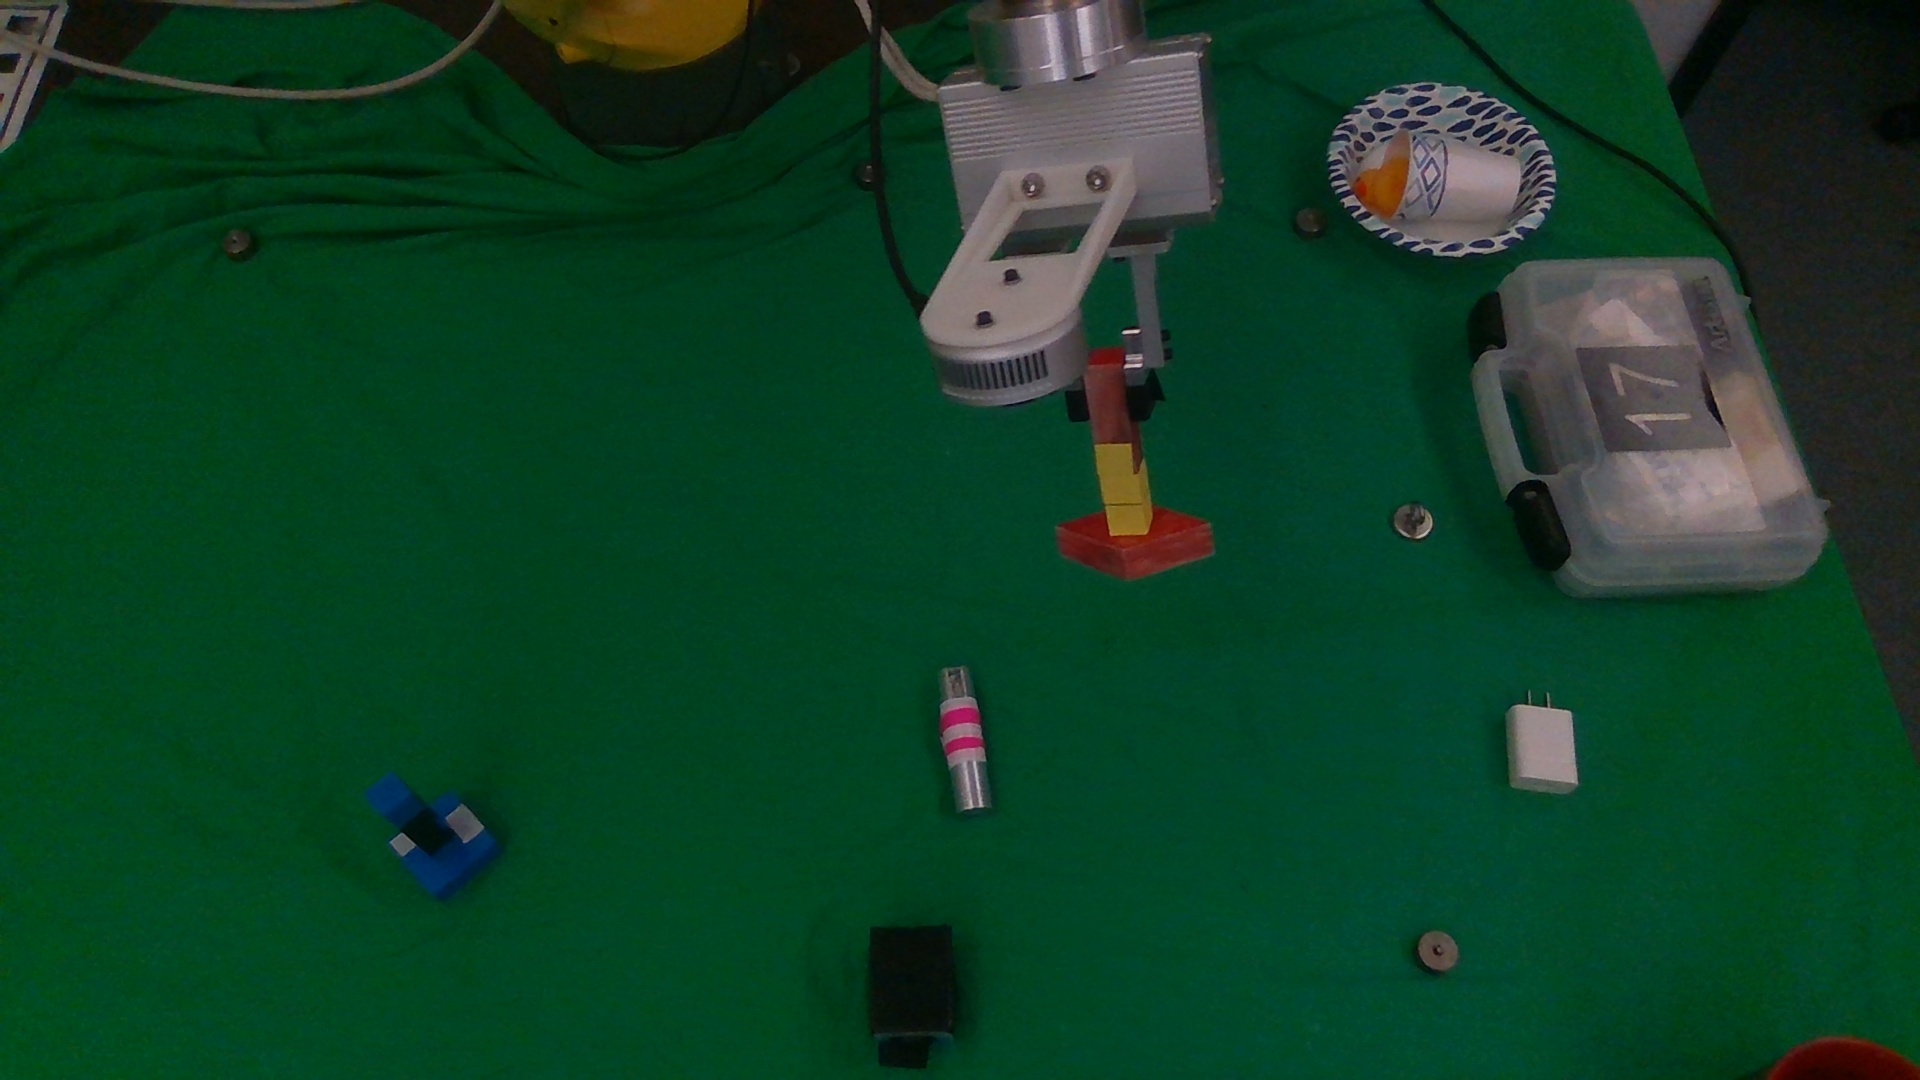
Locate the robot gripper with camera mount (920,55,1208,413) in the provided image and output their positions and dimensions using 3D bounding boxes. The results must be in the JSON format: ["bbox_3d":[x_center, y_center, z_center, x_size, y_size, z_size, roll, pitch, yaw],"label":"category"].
[{"bbox_3d":[0.043,-0.092,0.592,0.119,0.158,0.193,-4,33,17],"label":"robot gripper with camera mount"}]

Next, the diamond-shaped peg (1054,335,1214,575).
[{"bbox_3d":[0.081,-0.044,0.708,0.074,0.122,0.045,-14,27,-2],"label":"diamond-shaped peg"}]
